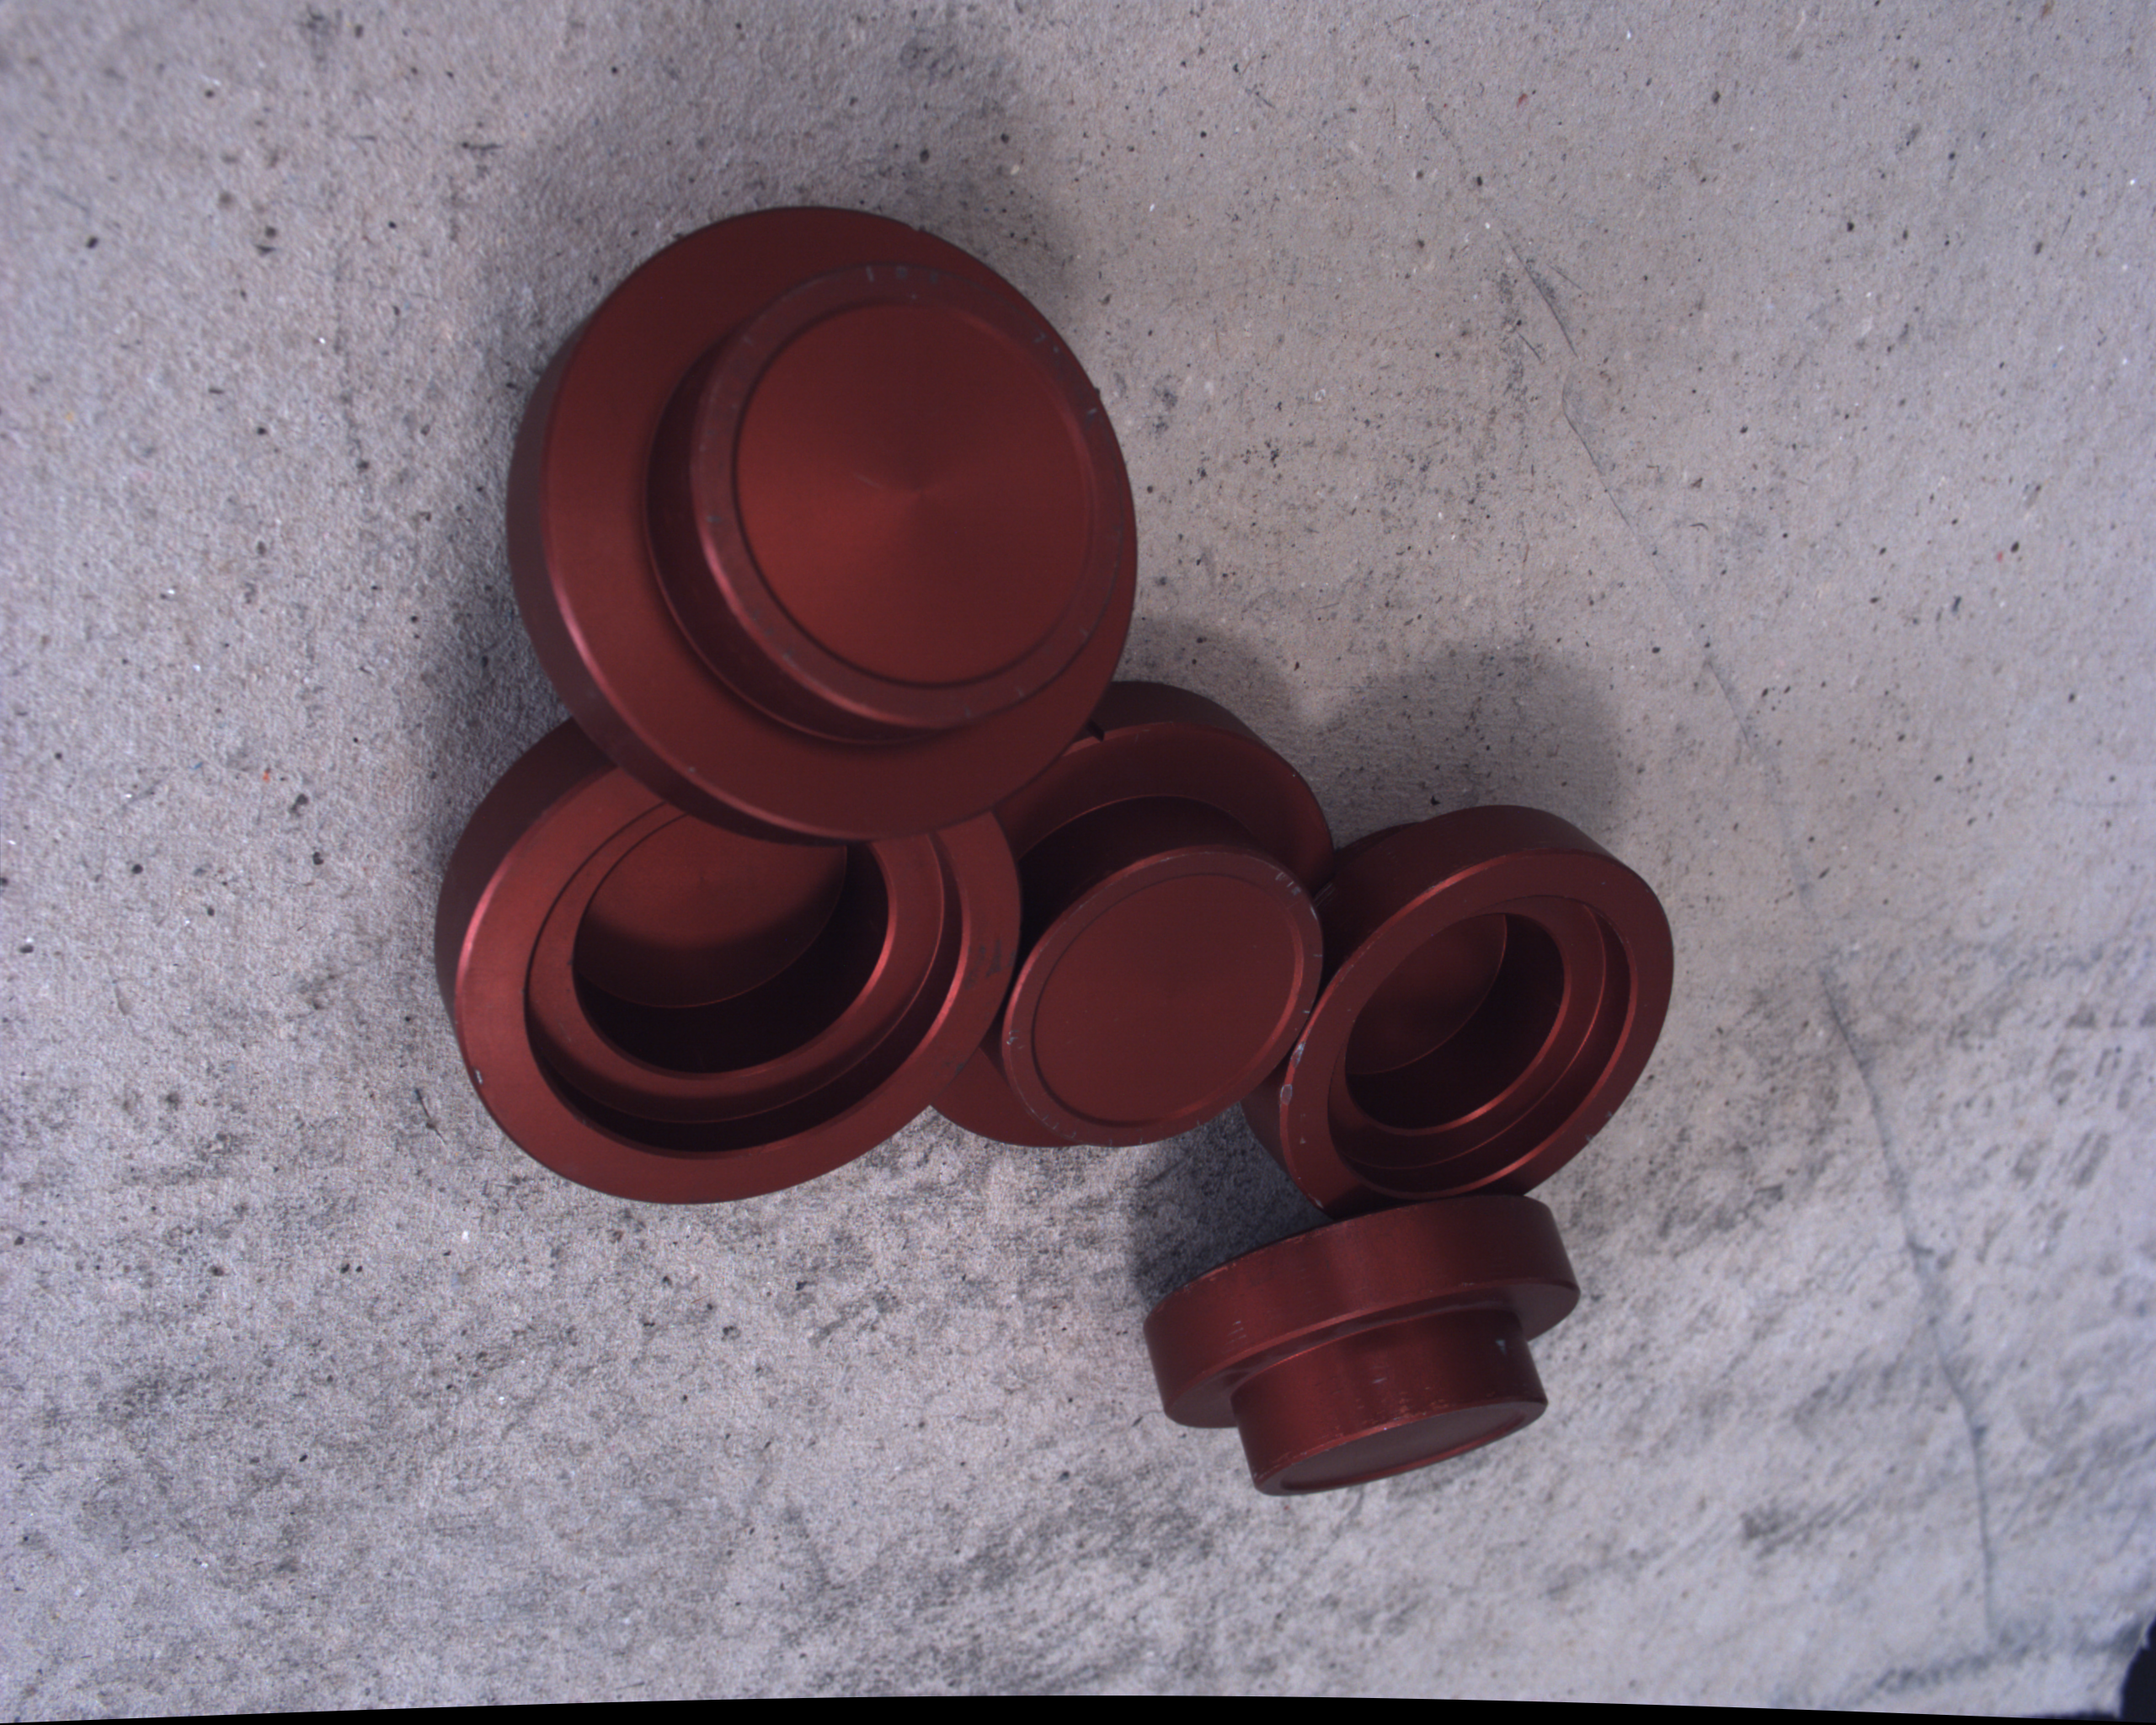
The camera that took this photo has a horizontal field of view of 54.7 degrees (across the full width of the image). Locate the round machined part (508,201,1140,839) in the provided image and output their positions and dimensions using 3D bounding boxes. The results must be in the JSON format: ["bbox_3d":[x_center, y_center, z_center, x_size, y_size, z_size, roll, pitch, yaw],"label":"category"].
[{"bbox_3d":[-0.032,-0.052,0.318,0.099,0.042,0.097,2,87,-29],"label":"round machined part"}]

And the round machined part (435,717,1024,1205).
[{"bbox_3d":[-0.063,0.009,0.368,0.099,0.042,0.097,-13,124,-20],"label":"round machined part"}]

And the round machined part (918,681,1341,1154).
[{"bbox_3d":[0.010,0.017,0.411,0.099,0.042,0.097,-12,121,-21],"label":"round machined part"}]

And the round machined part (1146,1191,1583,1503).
[{"bbox_3d":[0.068,0.114,0.475,0.099,0.042,0.098,-13,152,-7],"label":"round machined part"}]

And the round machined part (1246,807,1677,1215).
[{"bbox_3d":[0.078,0.030,0.458,0.099,0.042,0.097,-13,124,-20],"label":"round machined part"}]
